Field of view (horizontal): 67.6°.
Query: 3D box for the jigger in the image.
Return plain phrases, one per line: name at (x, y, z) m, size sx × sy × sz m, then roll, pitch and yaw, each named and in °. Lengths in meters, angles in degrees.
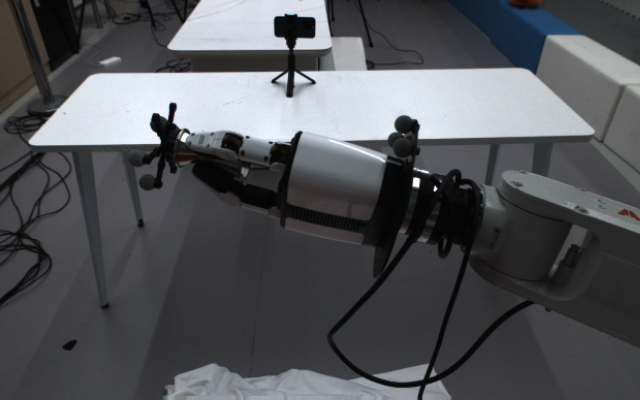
jigger at (-0.099, -0.049, 0.487) m, size 0.071 × 0.043 × 0.043 m, roll 10°, pitch 35°, yaw 3°
